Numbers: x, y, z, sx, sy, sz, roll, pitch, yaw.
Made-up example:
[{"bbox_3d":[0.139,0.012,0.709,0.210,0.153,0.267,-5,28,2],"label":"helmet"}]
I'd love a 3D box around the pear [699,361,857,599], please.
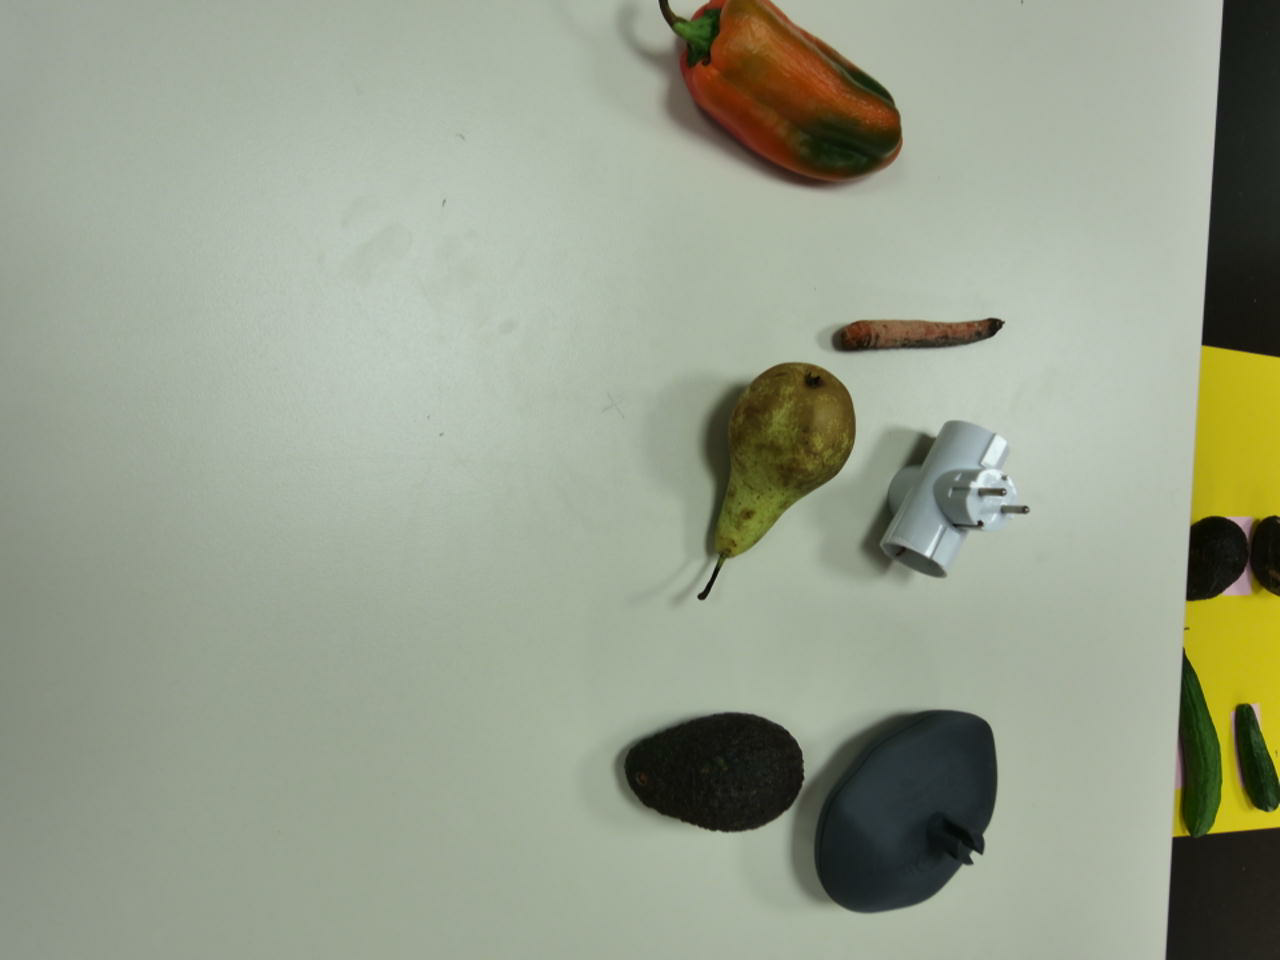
[{"bbox_3d":[0.080,0.004,0.570,0.071,0.075,0.144,13,86,-22],"label":"pear"}]
